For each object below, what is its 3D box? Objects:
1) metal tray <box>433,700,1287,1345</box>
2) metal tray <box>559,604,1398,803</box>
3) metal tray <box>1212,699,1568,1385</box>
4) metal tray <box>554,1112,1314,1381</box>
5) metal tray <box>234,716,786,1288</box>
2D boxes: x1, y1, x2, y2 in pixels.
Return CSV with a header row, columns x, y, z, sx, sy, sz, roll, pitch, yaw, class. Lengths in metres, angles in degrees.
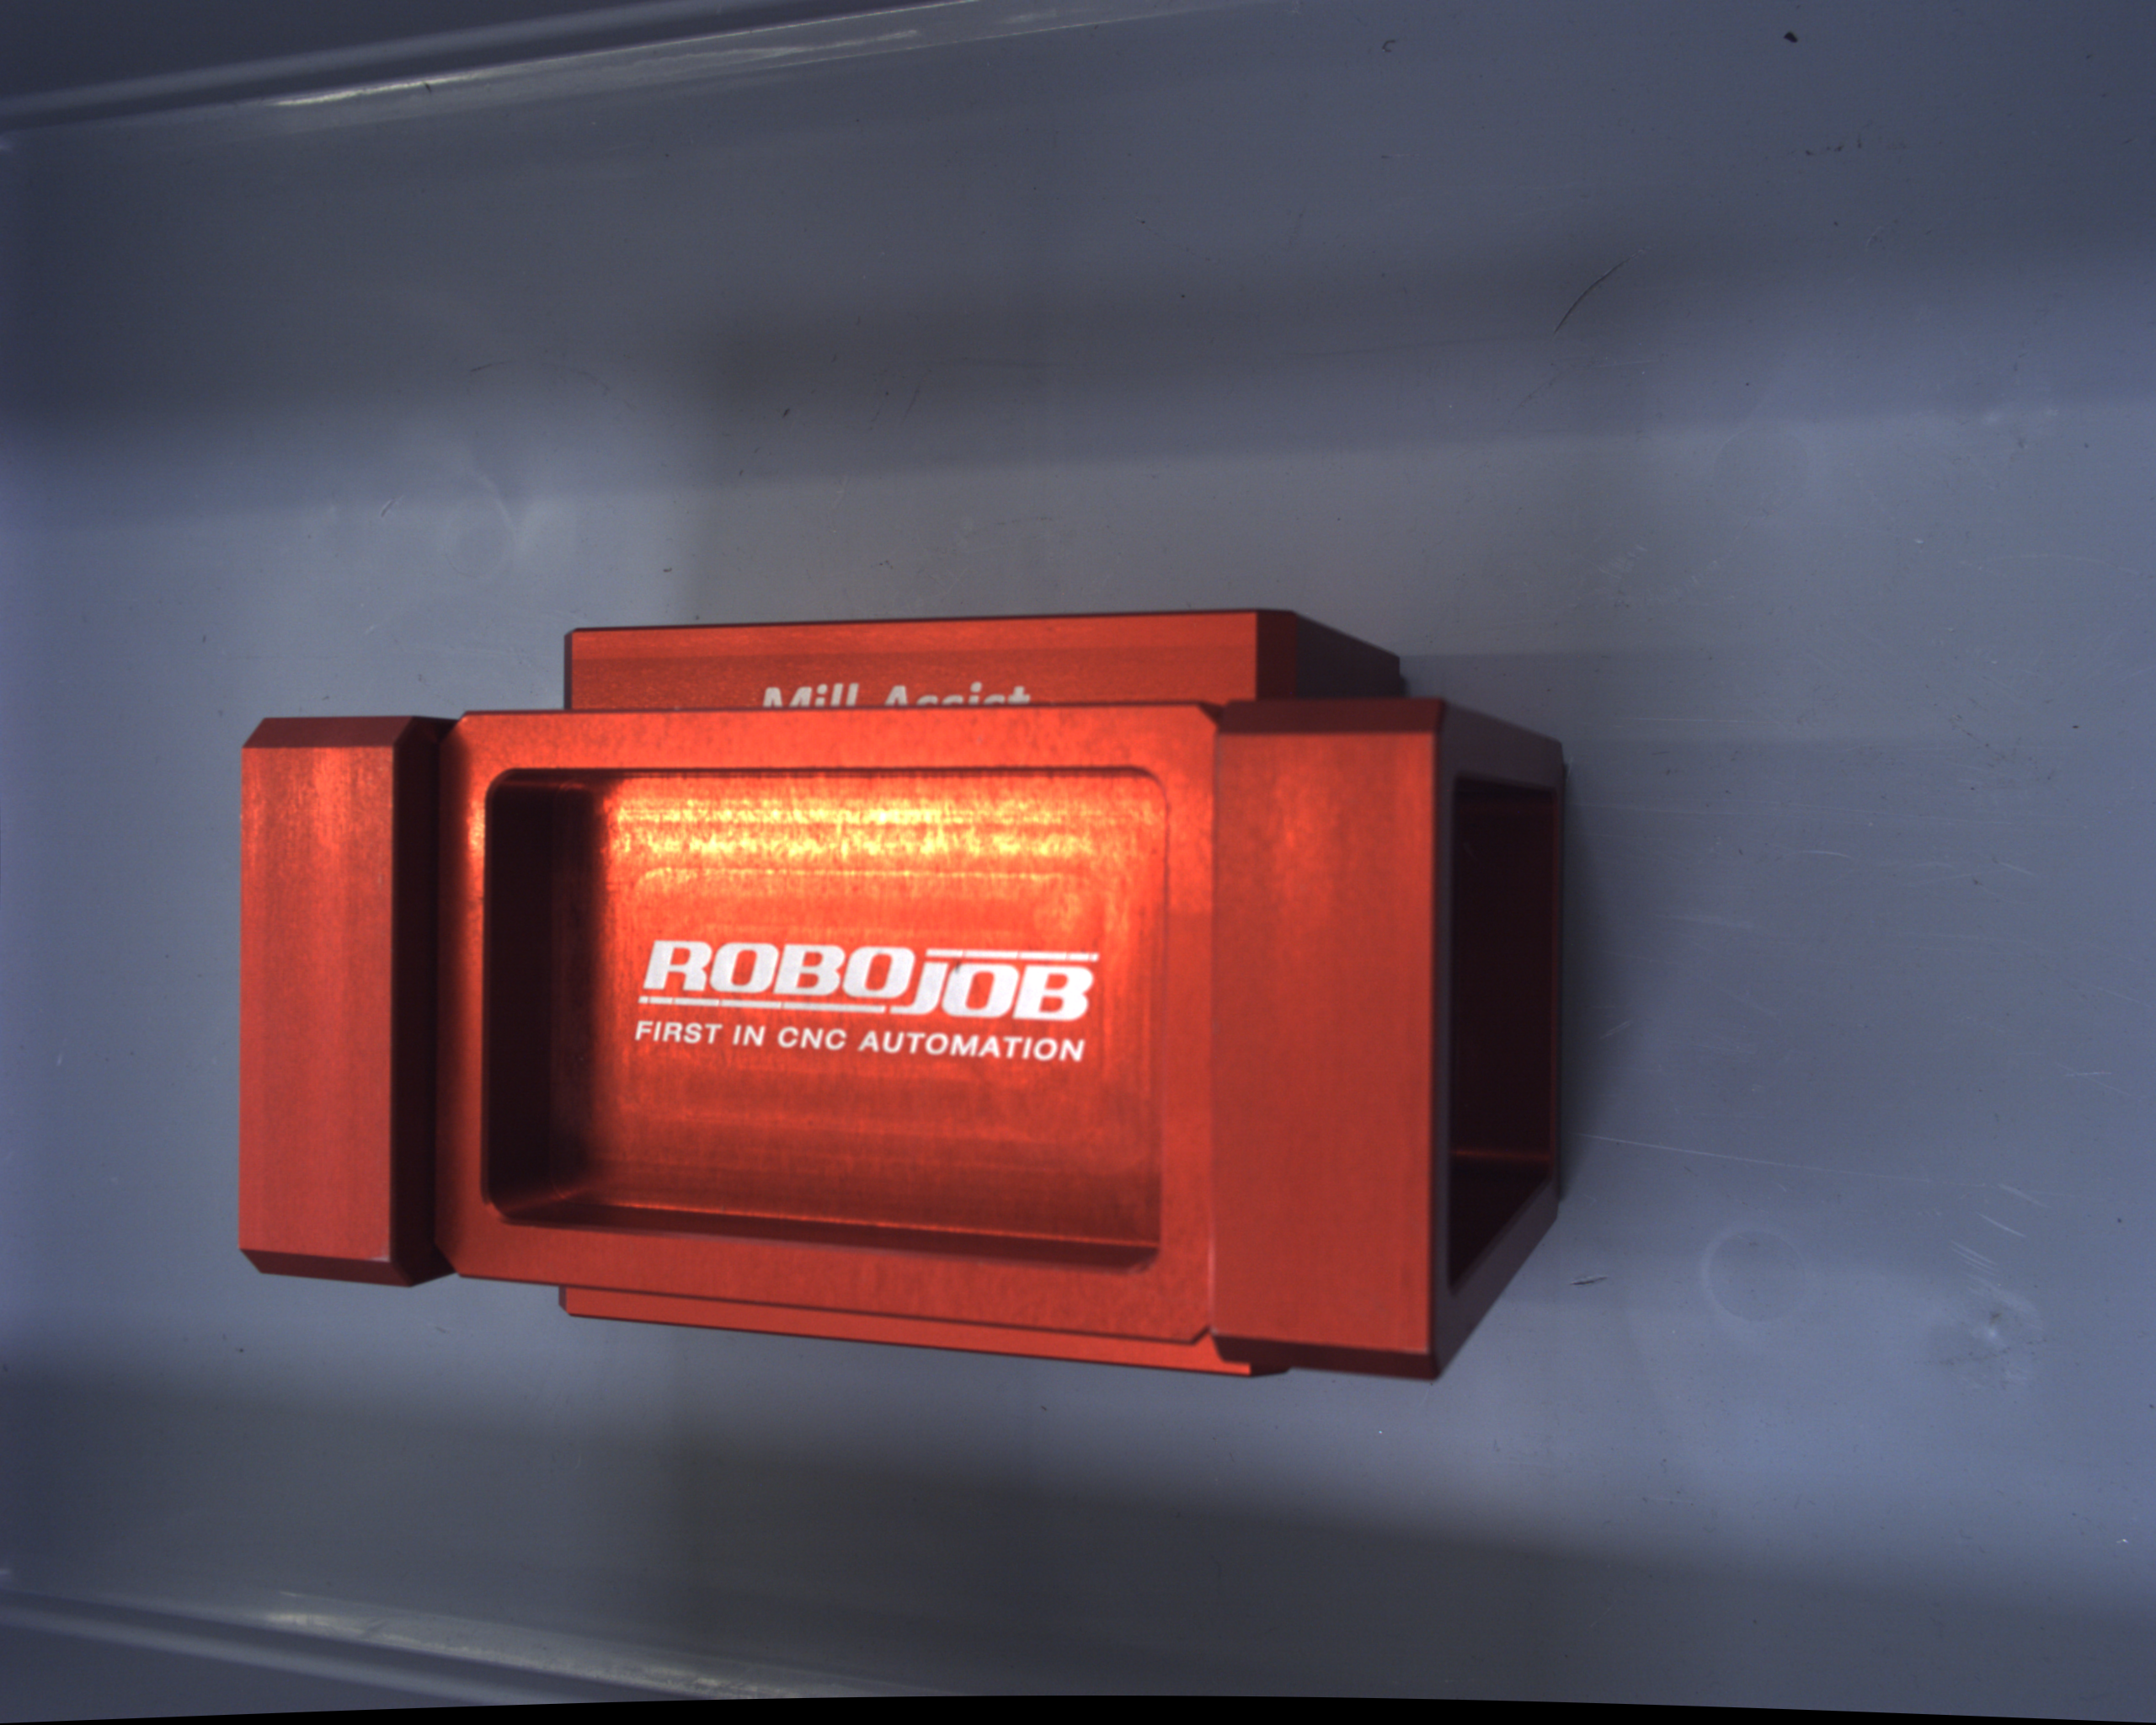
x,y,z,sx,sy,sz,roll,pitch,yaw,class
-0.035,0.021,0.323,0.130,0.030,0.089,1,90,19,metal tray
-0.015,-0.026,0.378,0.130,0.090,0.030,0,91,20,metal tray
0.054,0.022,0.333,0.030,0.130,0.089,1,91,20,metal tray
-0.016,0.064,0.378,0.130,0.090,0.030,0,90,20,metal tray
-0.098,0.021,0.388,0.030,0.130,0.089,1,91,20,metal tray
